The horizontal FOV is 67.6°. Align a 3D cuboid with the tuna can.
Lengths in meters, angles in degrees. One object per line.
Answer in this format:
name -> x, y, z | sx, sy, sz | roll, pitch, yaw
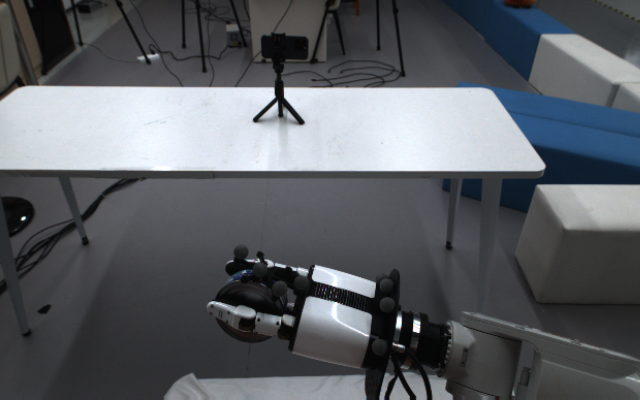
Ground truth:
tuna can -> -0.080, 0.128, 0.591 | 0.085, 0.085, 0.034 | 7, 17, 7
